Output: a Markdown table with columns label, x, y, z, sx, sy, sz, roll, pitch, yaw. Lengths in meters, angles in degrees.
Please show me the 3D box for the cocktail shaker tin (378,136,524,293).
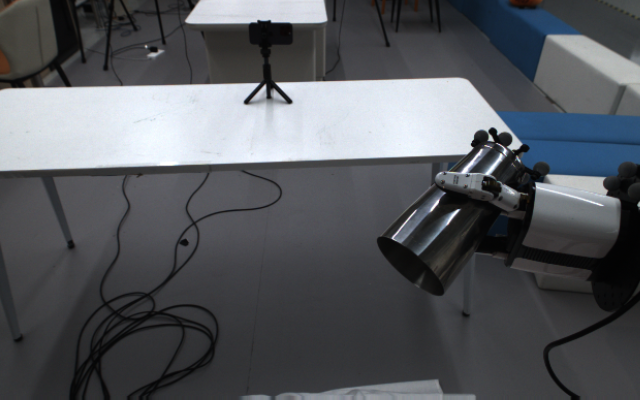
| label | x | y | z | sx | sy | sz | roll | pitch | yaw |
| --- | --- | --- | --- | --- | --- | --- | --- | --- | --- |
| cocktail shaker tin | 0.155 | 0.009 | 0.546 | 0.170 | 0.093 | 0.093 | -43 | 51 | -15 |
